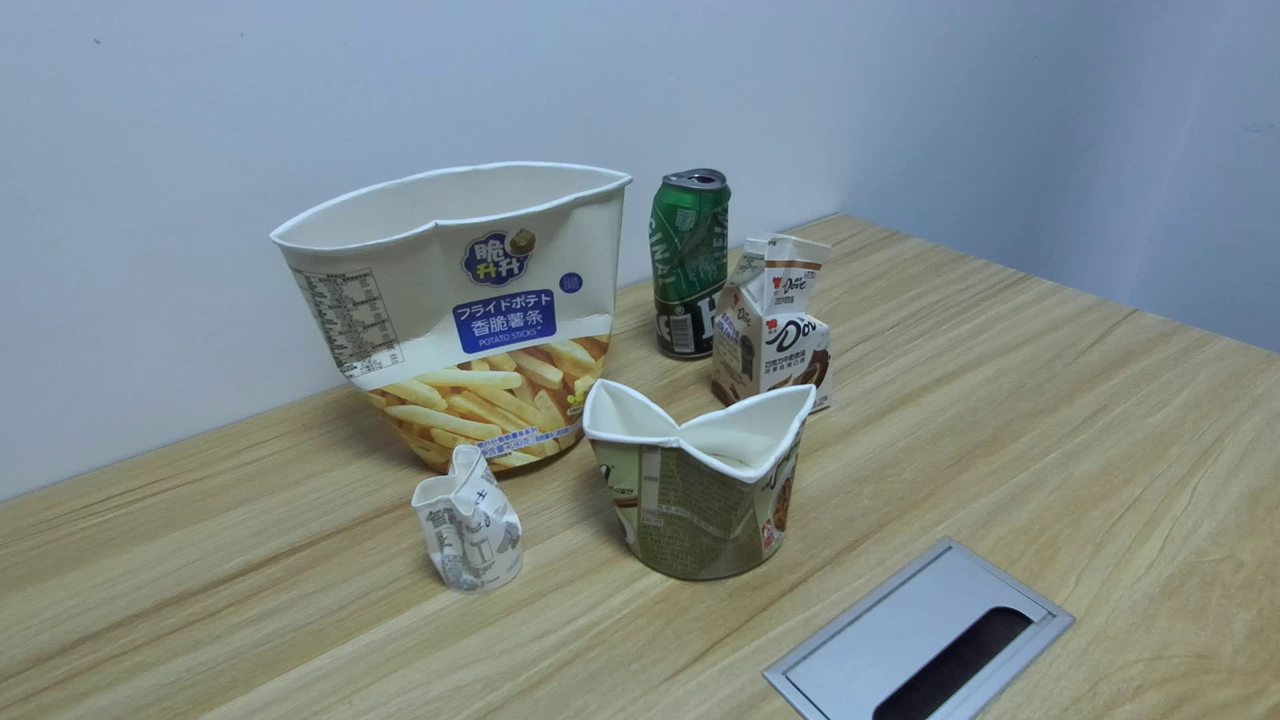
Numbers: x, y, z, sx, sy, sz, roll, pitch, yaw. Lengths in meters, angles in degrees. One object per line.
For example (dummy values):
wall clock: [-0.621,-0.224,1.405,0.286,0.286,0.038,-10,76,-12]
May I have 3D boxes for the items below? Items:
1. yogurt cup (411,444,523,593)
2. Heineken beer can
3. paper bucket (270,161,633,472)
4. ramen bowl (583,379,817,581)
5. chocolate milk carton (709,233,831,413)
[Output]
yogurt cup: [-0.106,0.099,0.435,0.055,0.072,0.055,8,34,20]
Heineken beer can: [0.045,-0.081,0.626,0.078,0.164,0.066,-3,30,-5]
paper bucket: [-0.114,-0.032,0.527,0.147,0.199,0.218,19,38,34]
ramen bowl: [0.033,0.065,0.451,0.128,0.093,0.112,13,36,24]
chocolate milk carton: [0.104,-0.031,0.545,0.076,0.156,0.073,-17,36,-22]
